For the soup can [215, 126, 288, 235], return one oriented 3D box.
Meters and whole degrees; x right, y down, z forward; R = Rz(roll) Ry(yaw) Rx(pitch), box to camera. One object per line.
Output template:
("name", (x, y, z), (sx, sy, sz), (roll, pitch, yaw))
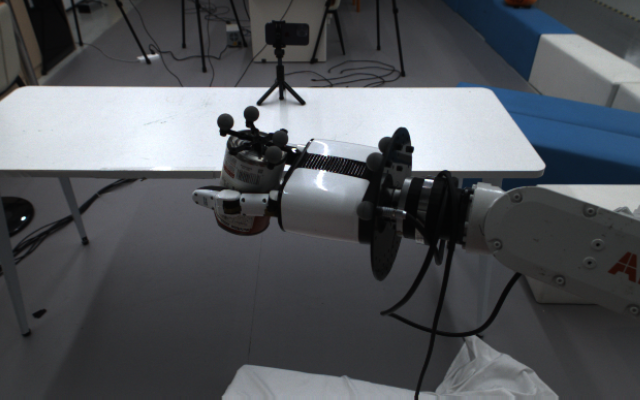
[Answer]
("soup can", (-0.078, -0.018, 0.549), (0.067, 0.101, 0.067), (13, 35, -9))
